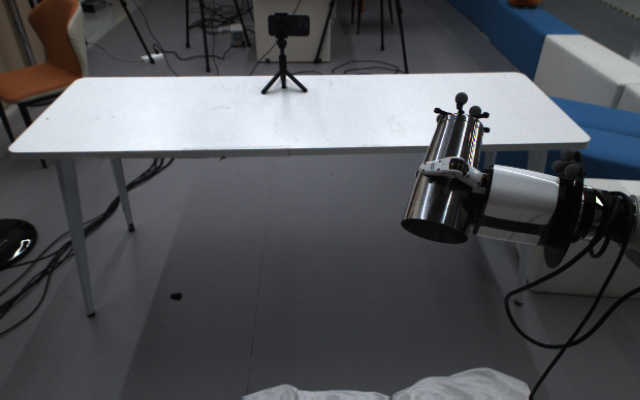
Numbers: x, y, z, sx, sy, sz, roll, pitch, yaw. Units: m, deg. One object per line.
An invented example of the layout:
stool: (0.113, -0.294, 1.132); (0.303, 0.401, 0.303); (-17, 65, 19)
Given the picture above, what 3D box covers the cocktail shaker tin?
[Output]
cocktail shaker tin: (0.182, -0.033, 0.687); (0.093, 0.093, 0.170); (14, 73, 16)
